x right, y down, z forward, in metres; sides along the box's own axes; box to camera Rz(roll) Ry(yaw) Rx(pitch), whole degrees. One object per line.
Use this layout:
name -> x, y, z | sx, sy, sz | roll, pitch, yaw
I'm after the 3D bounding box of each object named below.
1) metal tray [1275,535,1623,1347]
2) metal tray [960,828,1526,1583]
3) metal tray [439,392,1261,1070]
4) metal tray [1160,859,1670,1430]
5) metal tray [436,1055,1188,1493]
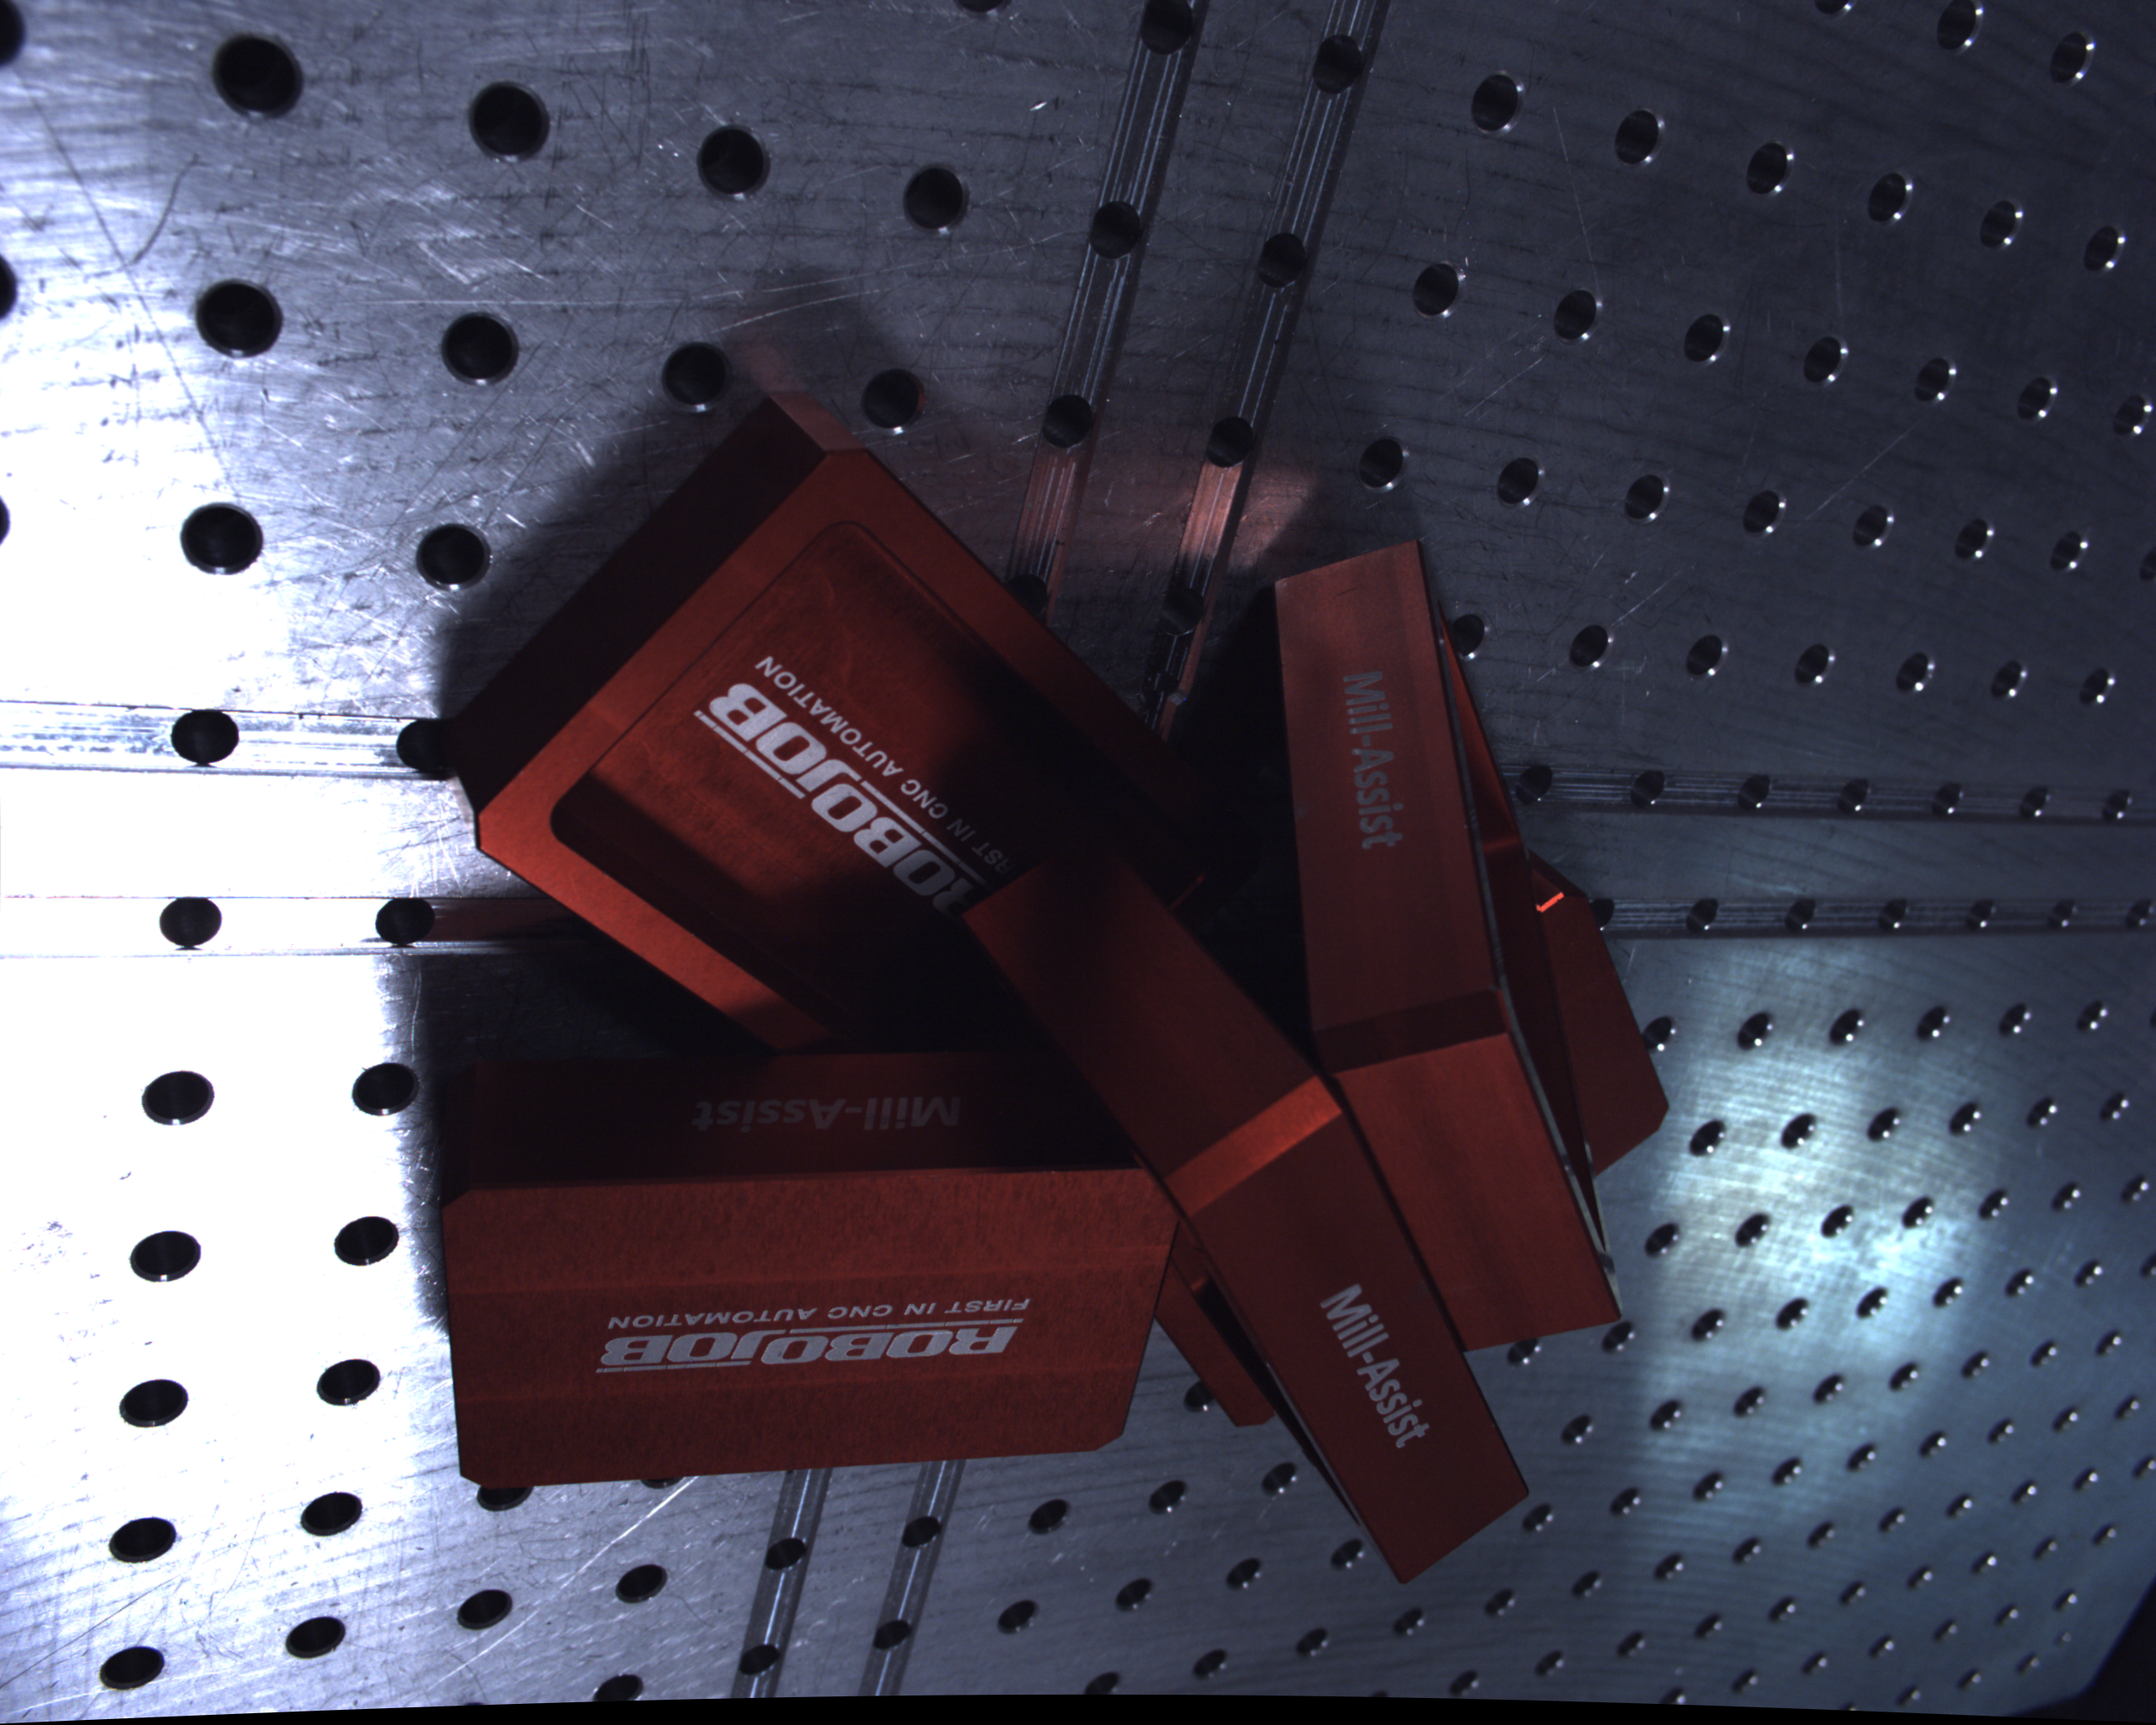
metal tray -> 0.068, 0.012, 0.390 | 0.030, 0.130, 0.090 | -16, 131, 15
metal tray -> 0.032, 0.065, 0.388 | 0.030, 0.090, 0.130 | -34, 129, -7
metal tray -> -0.037, -0.011, 0.382 | 0.090, 0.030, 0.130 | -46, 130, 3
metal tray -> 0.068, 0.064, 0.486 | 0.130, 0.030, 0.090 | -36, 129, -5
metal tray -> -0.051, 0.079, 0.399 | 0.131, 0.030, 0.089 | 0, 130, -12
